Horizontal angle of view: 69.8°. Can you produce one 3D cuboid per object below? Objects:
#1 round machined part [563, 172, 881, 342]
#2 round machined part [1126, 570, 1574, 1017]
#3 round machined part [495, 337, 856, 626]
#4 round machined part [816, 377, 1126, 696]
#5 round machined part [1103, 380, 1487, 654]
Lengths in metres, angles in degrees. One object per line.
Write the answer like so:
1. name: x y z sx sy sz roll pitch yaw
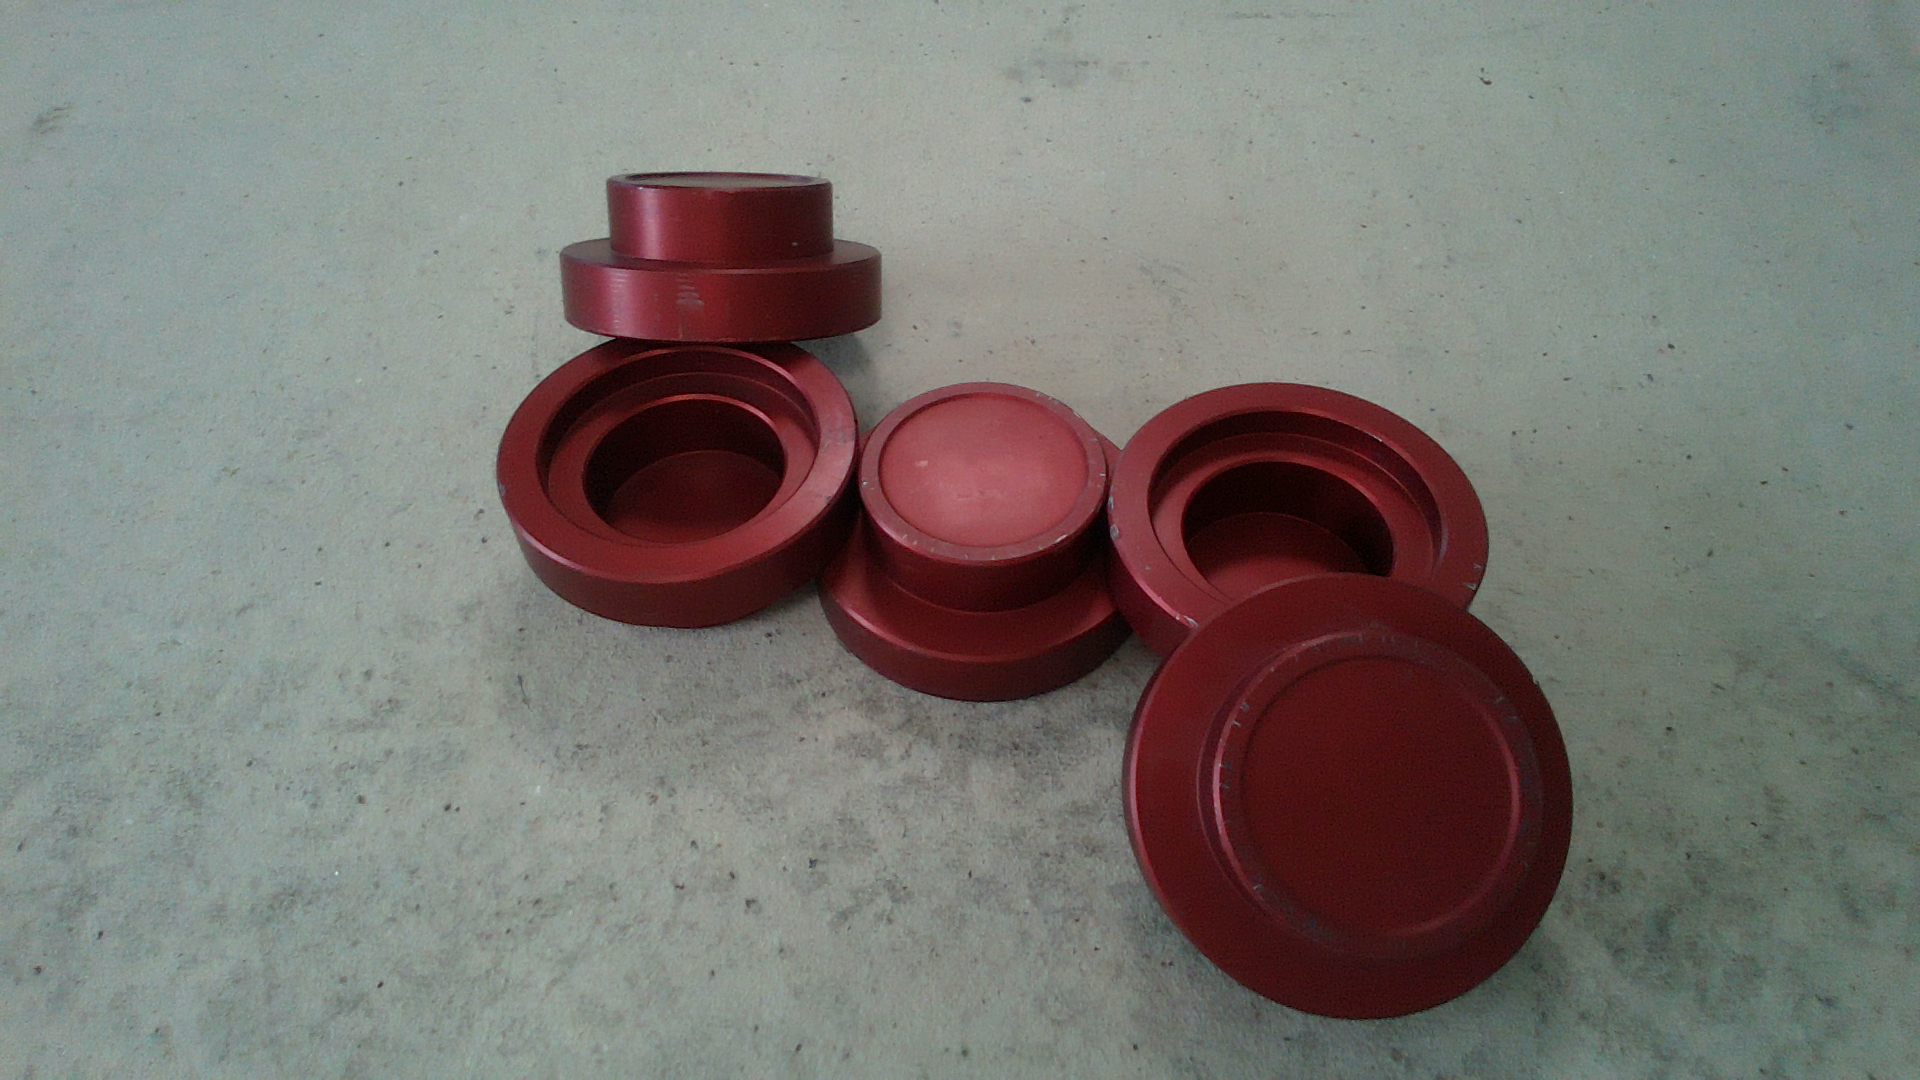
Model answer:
1. round machined part: -0.074 -0.092 0.428 0.098 0.042 0.098 1 19 0
2. round machined part: 0.087 0.055 0.305 0.098 0.042 0.098 0 79 0
3. round machined part: -0.077 -0.015 0.392 0.098 0.042 0.098 0 50 1
4. round machined part: 0.006 -0.008 0.386 0.098 0.042 0.098 -1 48 1
5. round machined part: 0.088 0.005 0.376 0.098 0.042 0.098 0 50 1
